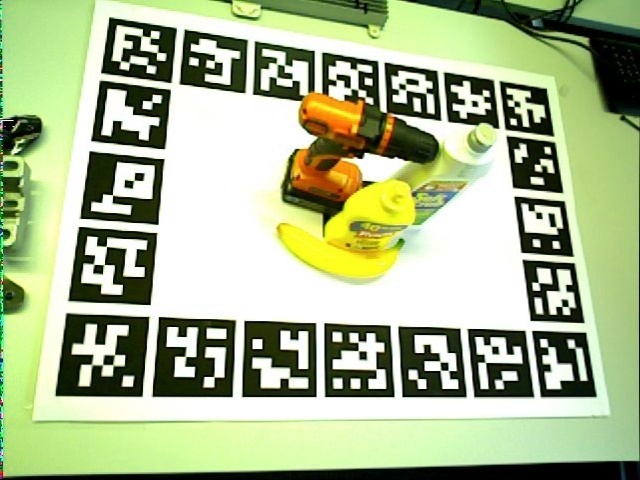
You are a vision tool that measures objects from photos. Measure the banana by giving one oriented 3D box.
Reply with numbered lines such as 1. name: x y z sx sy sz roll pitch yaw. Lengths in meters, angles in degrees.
1. banana: 0.039 0.023 0.781 0.196 0.039 0.073 9 72 -9

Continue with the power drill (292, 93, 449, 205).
1. power drill: 0.048 -0.108 0.707 0.183 0.190 0.057 17 67 -11

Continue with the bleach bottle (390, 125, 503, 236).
1. bleach bottle: 0.155 -0.087 0.724 0.101 0.256 0.067 8 65 -13

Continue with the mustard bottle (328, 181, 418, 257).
1. mustard bottle: 0.081 -0.031 0.714 0.095 0.195 0.058 6 71 -14
